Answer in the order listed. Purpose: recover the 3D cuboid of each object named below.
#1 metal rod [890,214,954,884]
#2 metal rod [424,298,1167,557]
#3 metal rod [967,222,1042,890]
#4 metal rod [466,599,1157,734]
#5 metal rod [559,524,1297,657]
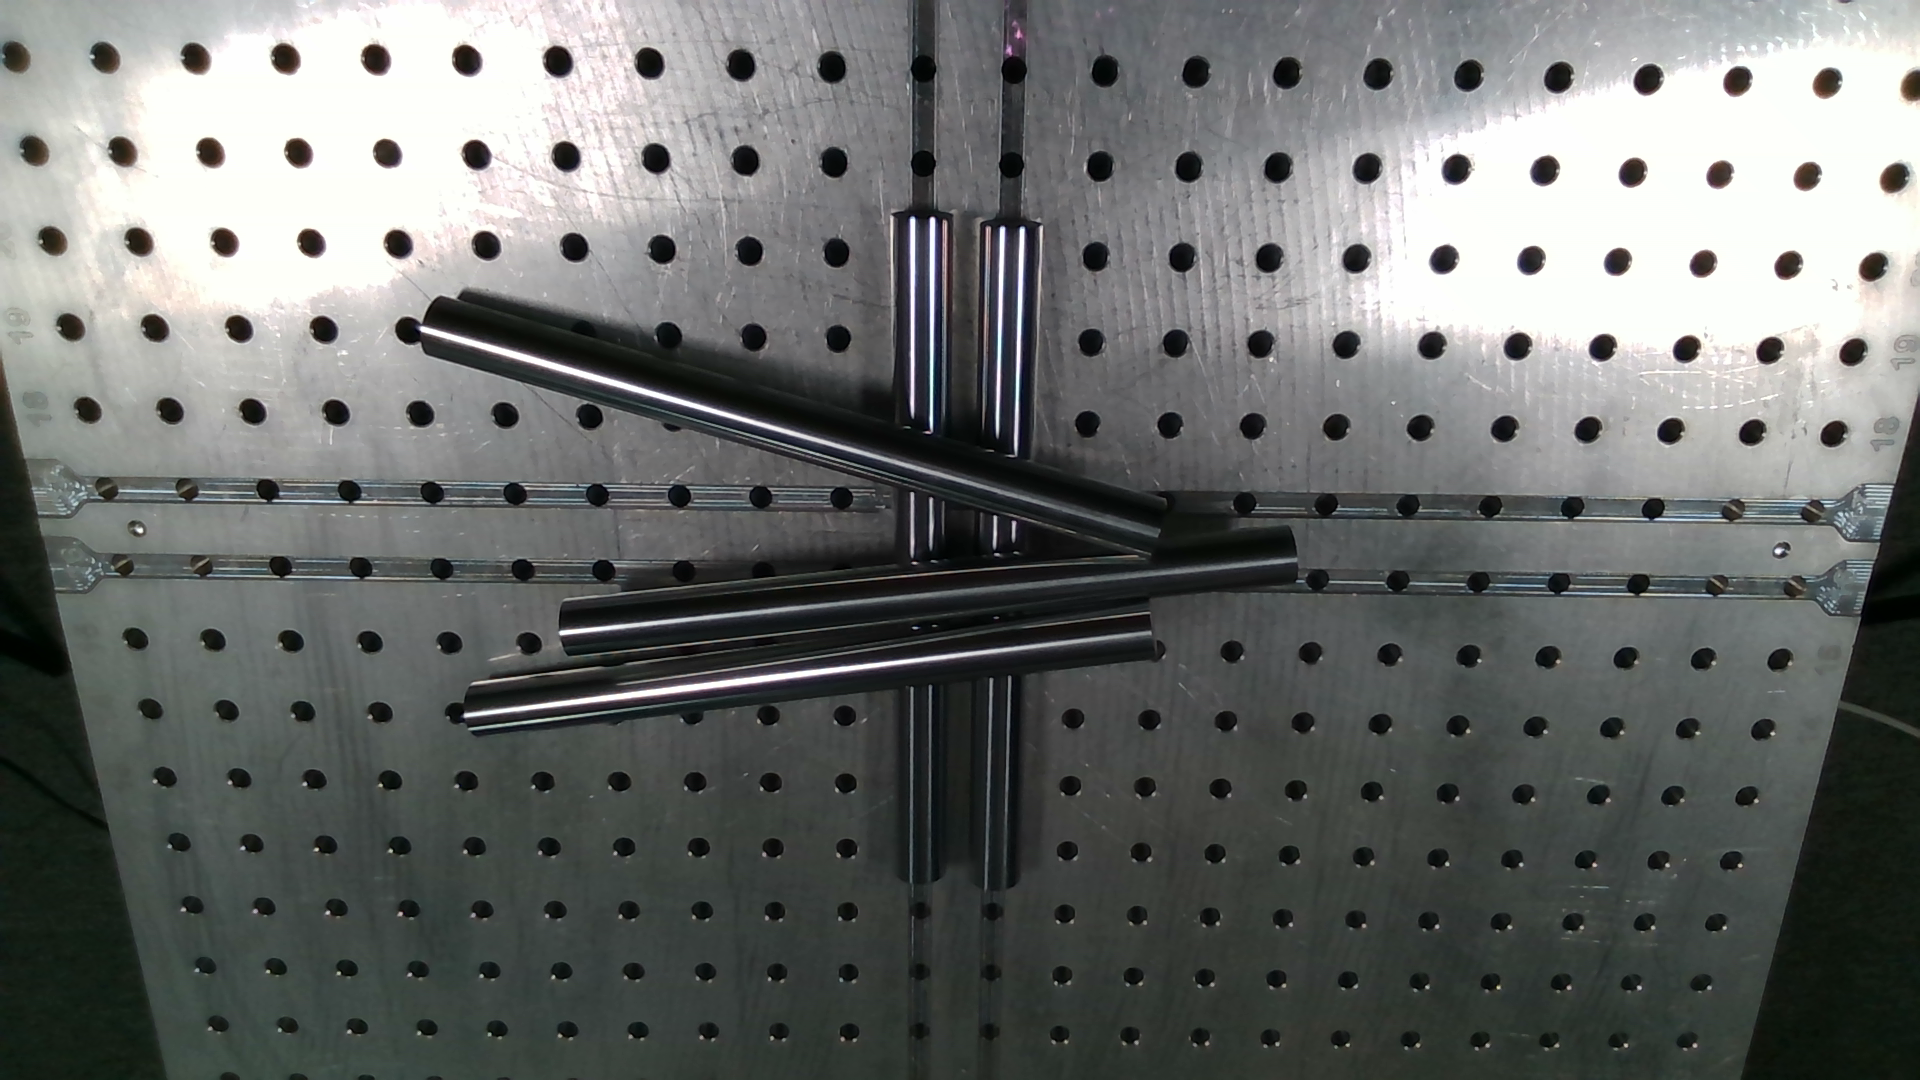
[{"bbox_3d":[-0.017,0.013,0.592,0.025,0.025,0.301,1,110,0],"label":"metal rod"},{"bbox_3d":[-0.066,-0.045,0.551,0.300,0.025,0.025,16,110,2],"label":"metal rod"},{"bbox_3d":[0.018,0.016,0.593,0.025,0.025,0.301,1,110,0],"label":"metal rod"},{"bbox_3d":[-0.067,0.056,0.588,0.300,0.025,0.025,-8,110,10],"label":"metal rod"},{"bbox_3d":[-0.014,0.021,0.569,0.300,0.025,0.025,-6,110,2],"label":"metal rod"}]
